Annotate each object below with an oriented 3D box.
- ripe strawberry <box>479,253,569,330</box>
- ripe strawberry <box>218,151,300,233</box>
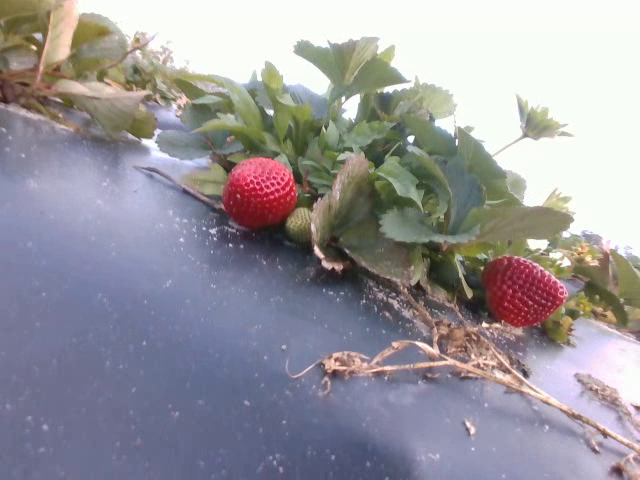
[{"bbox_3d":[0.117,0.027,0.342,0.046,0.047,0.043,7,21,42],"label":"ripe strawberry"},{"bbox_3d":[-0.036,-0.024,0.316,0.043,0.043,0.050,29,10,16],"label":"ripe strawberry"}]
